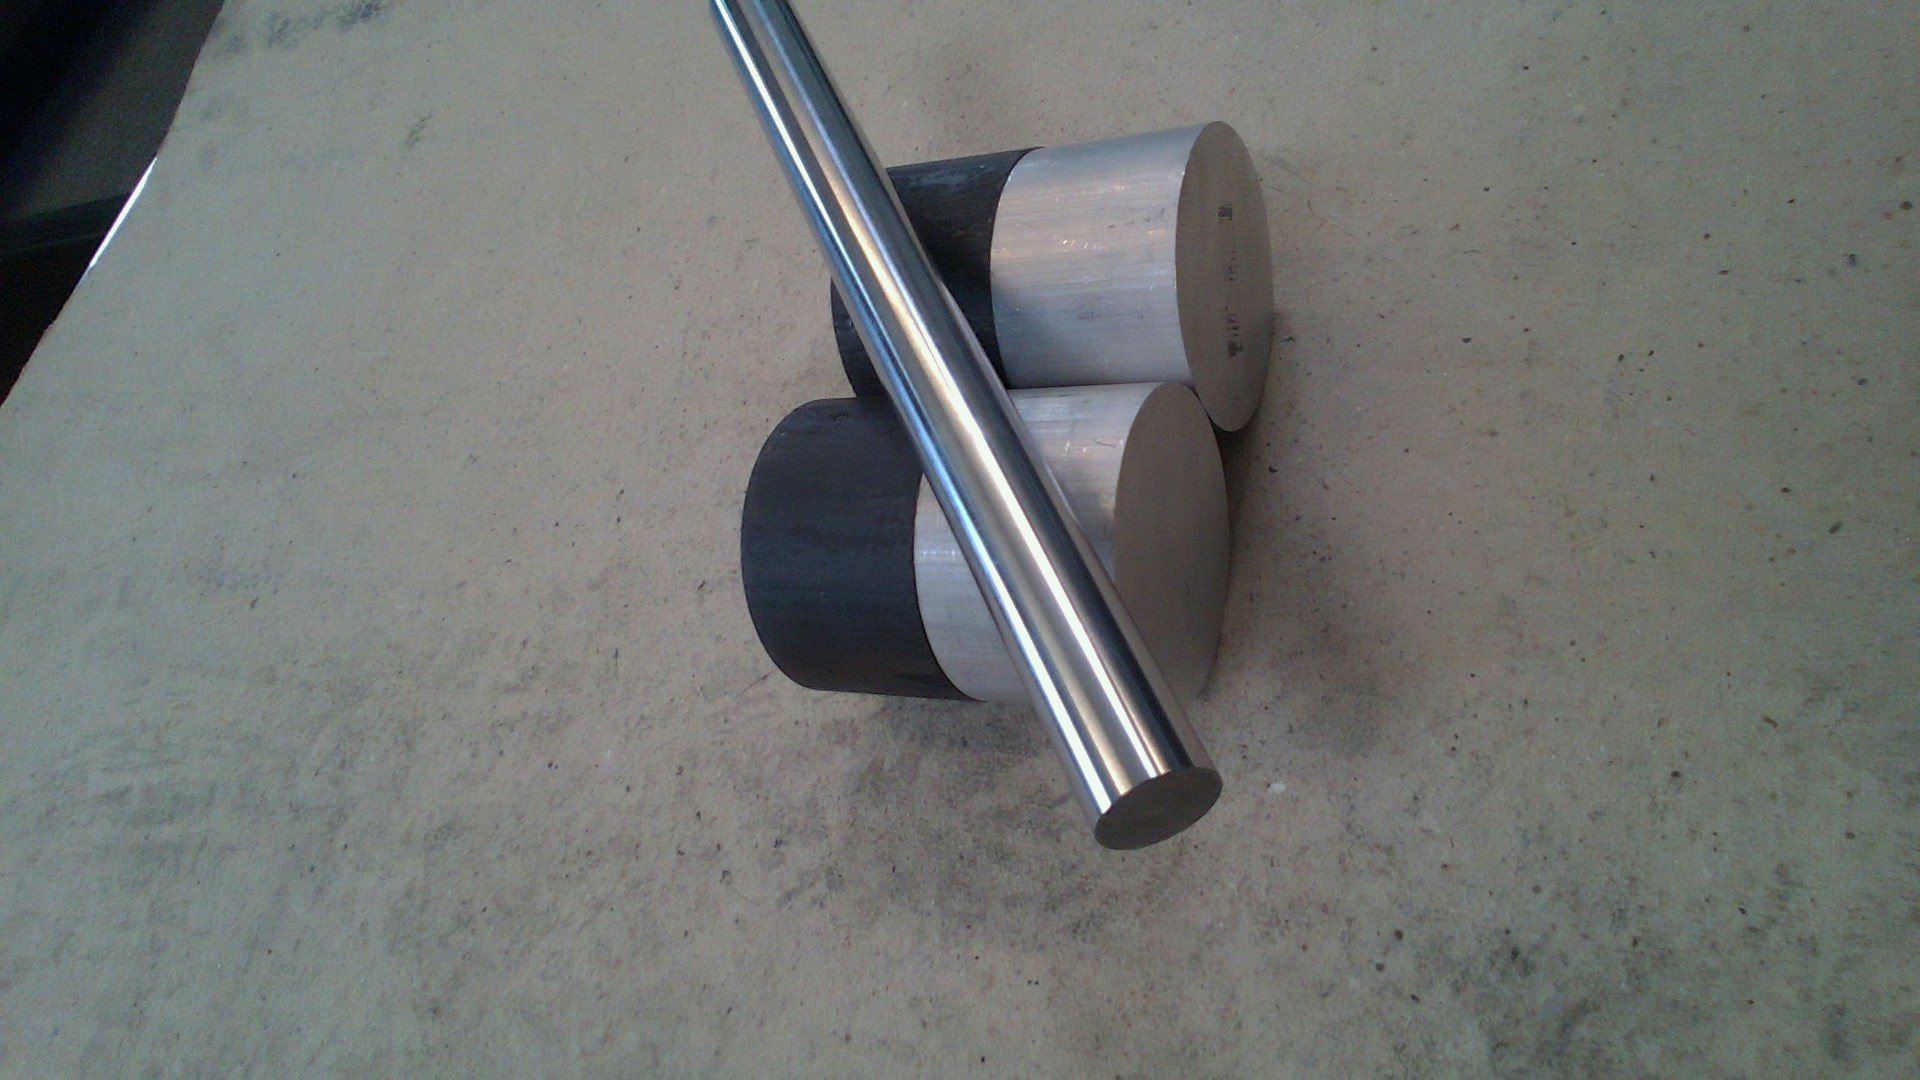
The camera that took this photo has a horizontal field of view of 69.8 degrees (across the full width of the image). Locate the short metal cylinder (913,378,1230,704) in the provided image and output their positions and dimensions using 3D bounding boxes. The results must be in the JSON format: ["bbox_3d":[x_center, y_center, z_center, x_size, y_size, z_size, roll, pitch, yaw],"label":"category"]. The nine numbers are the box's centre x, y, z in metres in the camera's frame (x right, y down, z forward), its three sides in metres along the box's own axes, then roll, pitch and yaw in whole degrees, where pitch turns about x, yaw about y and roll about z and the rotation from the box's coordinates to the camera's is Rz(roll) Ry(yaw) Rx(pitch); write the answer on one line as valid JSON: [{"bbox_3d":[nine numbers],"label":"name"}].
[{"bbox_3d":[0.031,0.001,0.341,0.050,0.080,0.080,1,62,29],"label":"short metal cylinder"}]

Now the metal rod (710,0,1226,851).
[{"bbox_3d":[-0.015,-0.059,0.335,0.025,0.025,0.300,-32,51,8],"label":"metal rod"}]

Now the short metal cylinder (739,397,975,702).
[{"bbox_3d":[-0.014,0.001,0.365,0.050,0.080,0.080,1,62,29],"label":"short metal cylinder"}]

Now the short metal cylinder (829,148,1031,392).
[{"bbox_3d":[0.006,-0.070,0.399,0.050,0.080,0.080,1,62,29],"label":"short metal cylinder"}]

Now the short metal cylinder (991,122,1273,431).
[{"bbox_3d":[0.049,-0.069,0.375,0.050,0.080,0.080,1,62,29],"label":"short metal cylinder"}]
